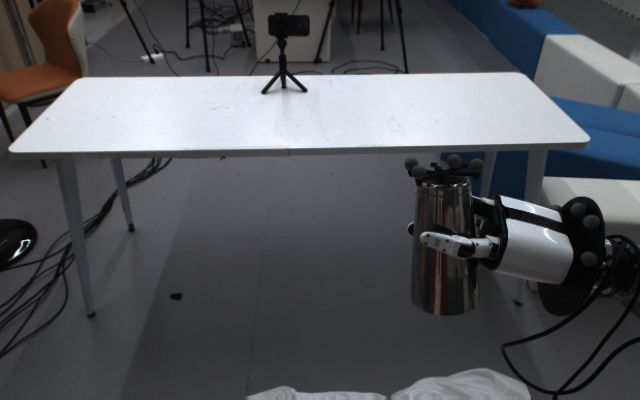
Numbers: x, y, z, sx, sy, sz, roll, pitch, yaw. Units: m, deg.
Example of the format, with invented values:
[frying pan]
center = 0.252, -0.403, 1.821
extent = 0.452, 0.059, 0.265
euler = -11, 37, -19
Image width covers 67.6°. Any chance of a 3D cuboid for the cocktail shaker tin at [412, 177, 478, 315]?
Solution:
[cocktail shaker tin]
center = 0.164, 0.053, 0.635
extent = 0.093, 0.170, 0.093
euler = -6, 19, 2
